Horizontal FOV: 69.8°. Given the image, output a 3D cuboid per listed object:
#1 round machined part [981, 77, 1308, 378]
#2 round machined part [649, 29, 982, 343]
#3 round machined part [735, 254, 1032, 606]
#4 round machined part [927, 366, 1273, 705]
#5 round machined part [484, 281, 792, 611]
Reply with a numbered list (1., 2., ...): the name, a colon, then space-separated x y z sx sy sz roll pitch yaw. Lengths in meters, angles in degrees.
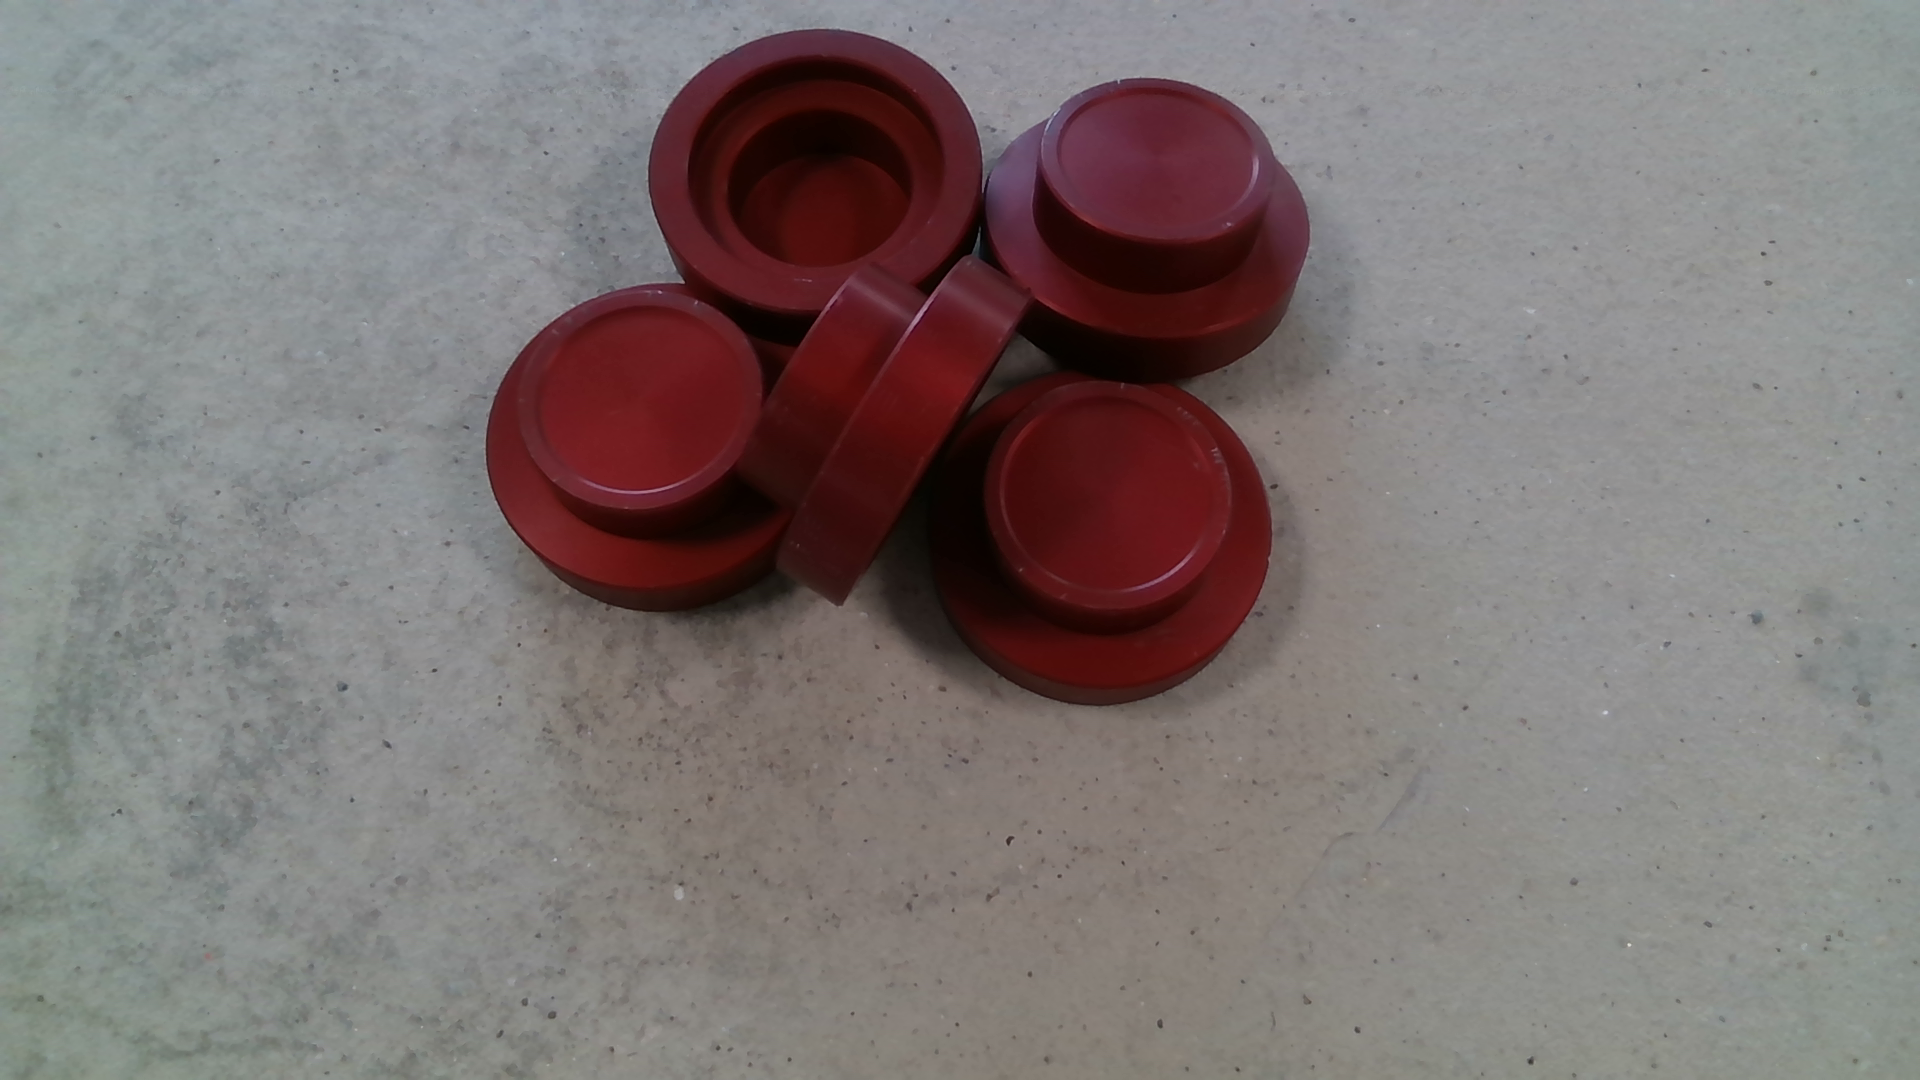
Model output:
1. round machined part: 0.055 -0.099 0.411 0.098 0.042 0.098 1 57 -2
2. round machined part: -0.042 -0.103 0.424 0.098 0.042 0.098 0 70 1
3. round machined part: -0.024 -0.034 0.366 0.042 0.098 0.098 32 73 -3
4. round machined part: 0.040 -0.006 0.388 0.098 0.042 0.098 0 71 -1
5. round machined part: -0.088 -0.032 0.398 0.098 0.042 0.098 1 71 -1
